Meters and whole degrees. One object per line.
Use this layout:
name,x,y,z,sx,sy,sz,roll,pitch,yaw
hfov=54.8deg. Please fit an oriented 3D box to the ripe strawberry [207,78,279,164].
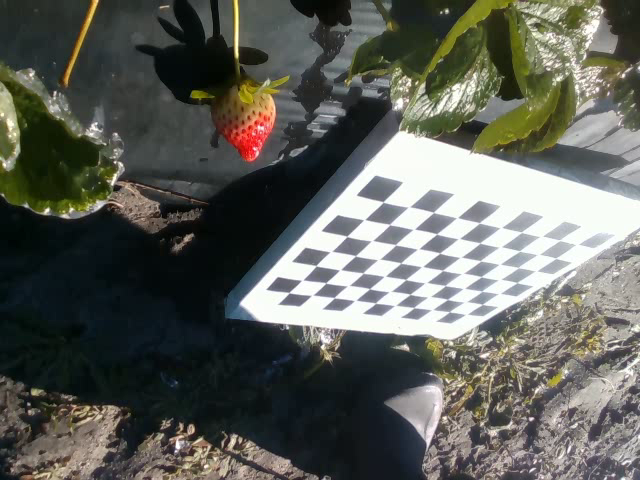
ripe strawberry,-0.039,-0.064,0.330,0.039,0.053,0.040,-3,42,-12
